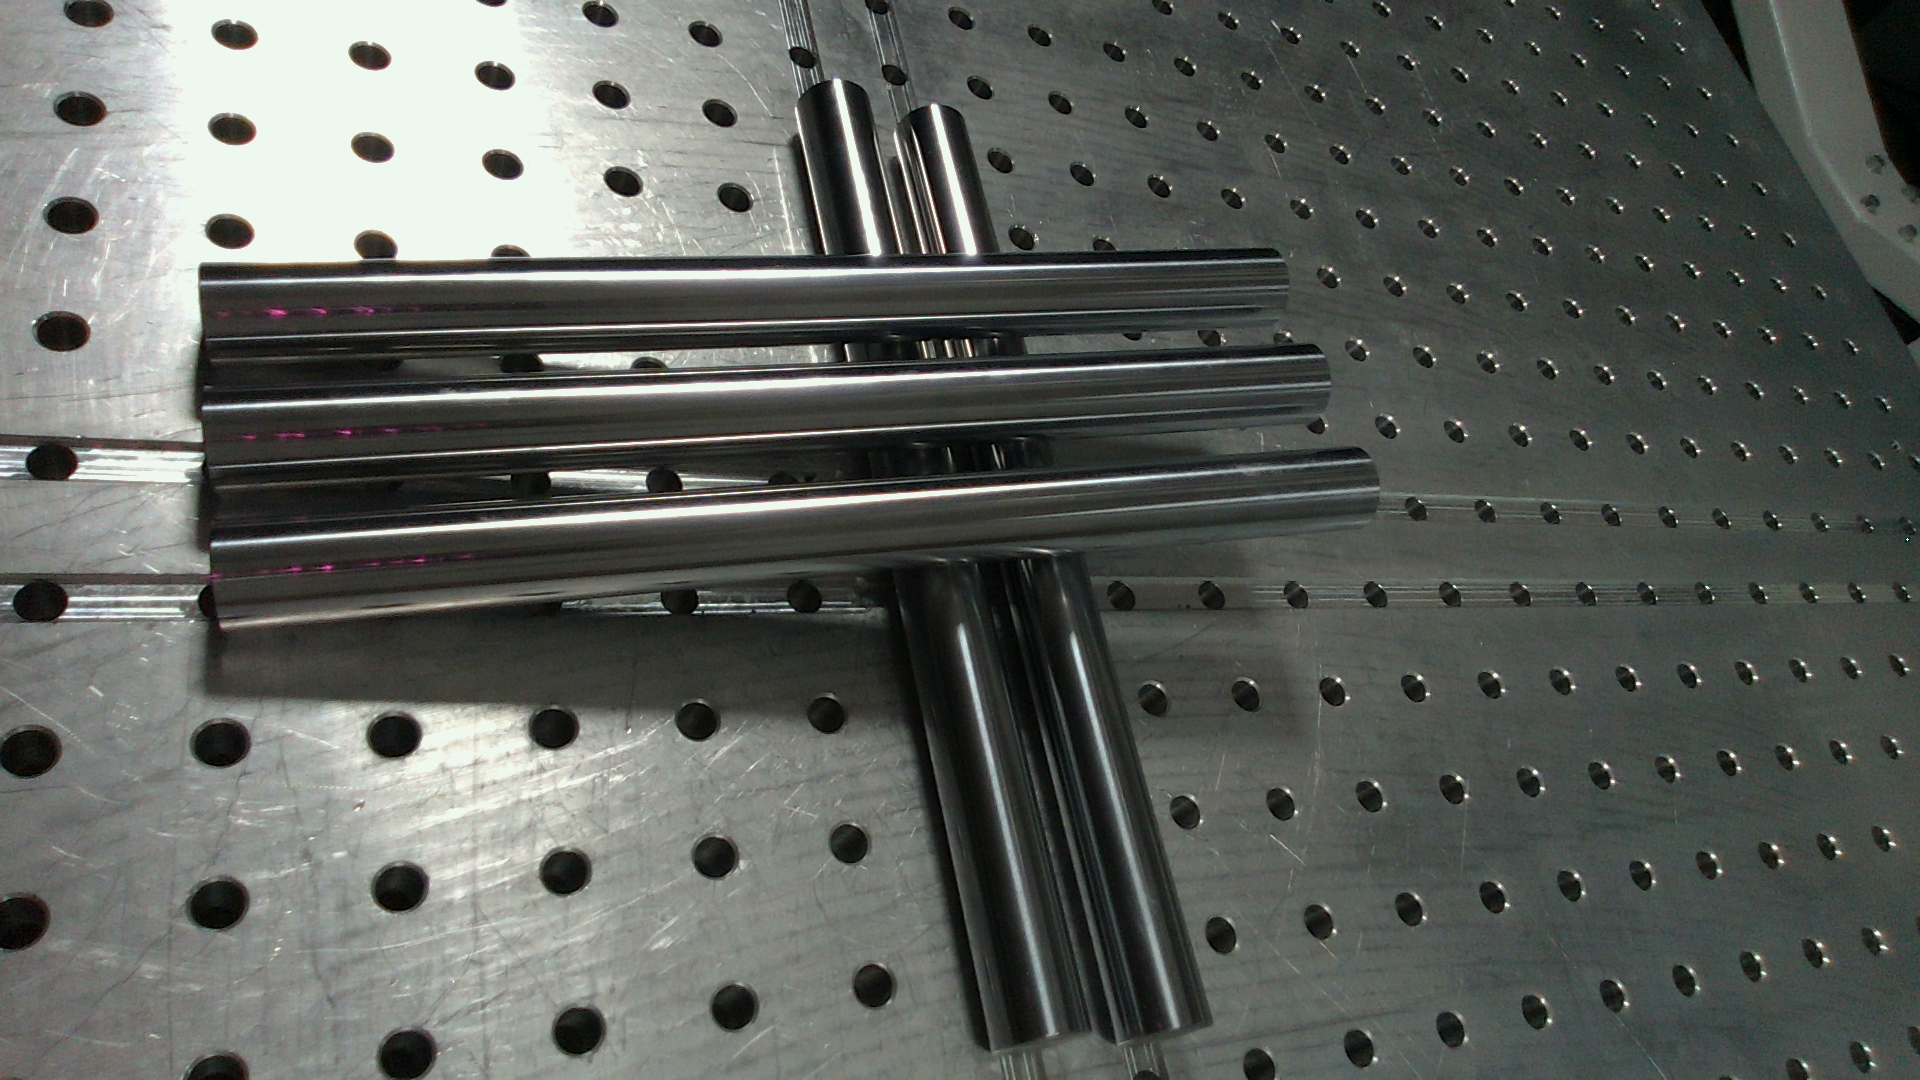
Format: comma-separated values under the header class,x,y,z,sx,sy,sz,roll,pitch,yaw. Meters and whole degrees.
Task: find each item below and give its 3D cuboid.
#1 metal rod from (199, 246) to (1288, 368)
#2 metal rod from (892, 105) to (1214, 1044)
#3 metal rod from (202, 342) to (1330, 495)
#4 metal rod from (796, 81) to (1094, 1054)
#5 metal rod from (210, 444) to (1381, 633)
class,x,y,z,sx,sy,sz,roll,pitch,yaw
metal rod,-0.041,-0.068,0.386,0.301,0.025,0.025,-6,64,-22
metal rod,0.020,-0.008,0.409,0.025,0.025,0.300,1,61,-28
metal rod,-0.032,-0.036,0.371,0.301,0.025,0.025,-5,64,-22
metal rod,-0.011,-0.011,0.394,0.025,0.025,0.300,1,61,-28
metal rod,-0.023,-0.004,0.356,0.301,0.025,0.025,-5,64,-21
